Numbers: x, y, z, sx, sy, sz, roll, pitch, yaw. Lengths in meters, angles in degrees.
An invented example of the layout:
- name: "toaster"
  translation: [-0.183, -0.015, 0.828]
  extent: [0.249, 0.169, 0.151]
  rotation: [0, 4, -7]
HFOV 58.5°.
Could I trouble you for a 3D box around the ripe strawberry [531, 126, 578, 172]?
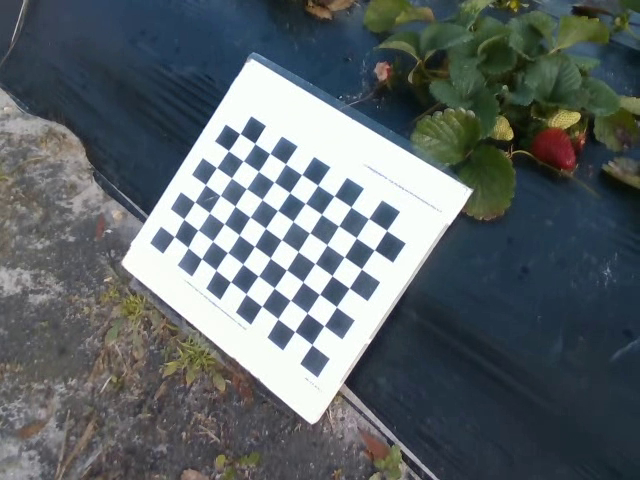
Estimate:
- name: "ripe strawberry"
  translation: [0.226, -0.091, 0.531]
  extent: [0.050, 0.064, 0.043]
  rotation: [-25, -15, 13]
